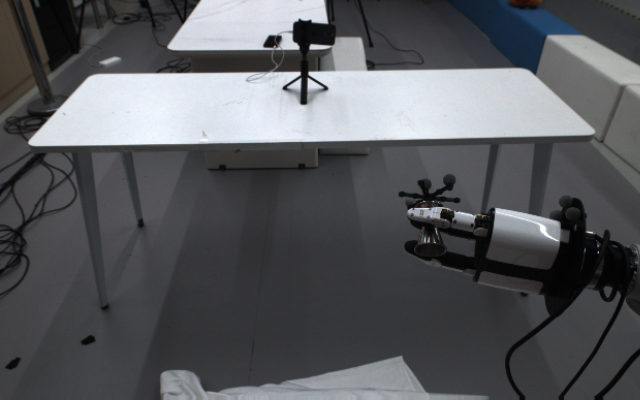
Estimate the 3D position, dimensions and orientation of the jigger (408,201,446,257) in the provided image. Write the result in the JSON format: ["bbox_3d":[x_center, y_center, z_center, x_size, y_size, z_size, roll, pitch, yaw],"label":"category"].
[{"bbox_3d":[0.153,0.039,0.682,0.043,0.043,0.071,4,61,3],"label":"jigger"}]
